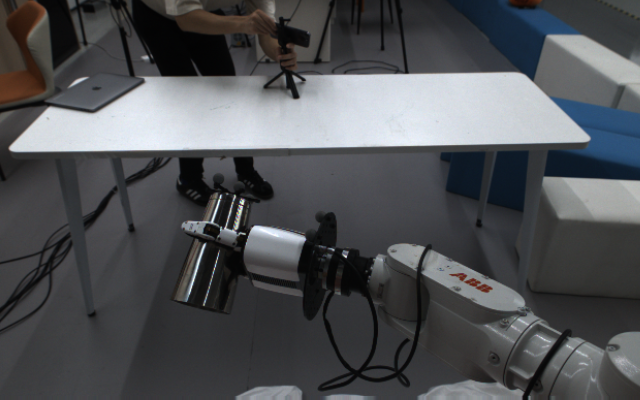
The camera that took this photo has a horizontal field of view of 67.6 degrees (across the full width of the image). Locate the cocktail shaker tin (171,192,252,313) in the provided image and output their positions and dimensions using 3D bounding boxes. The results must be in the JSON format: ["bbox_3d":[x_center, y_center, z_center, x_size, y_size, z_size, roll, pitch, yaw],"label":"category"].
[{"bbox_3d":[-0.157,0.079,0.733,0.093,0.093,0.170,9,71,10],"label":"cocktail shaker tin"}]
